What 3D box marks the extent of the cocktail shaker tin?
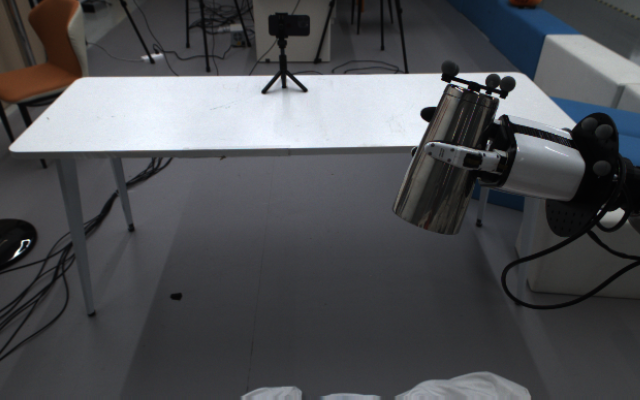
[{"bbox_3d":[0.162,-0.054,0.609,0.093,0.170,0.093,15,17,-5],"label":"cocktail shaker tin"}]
